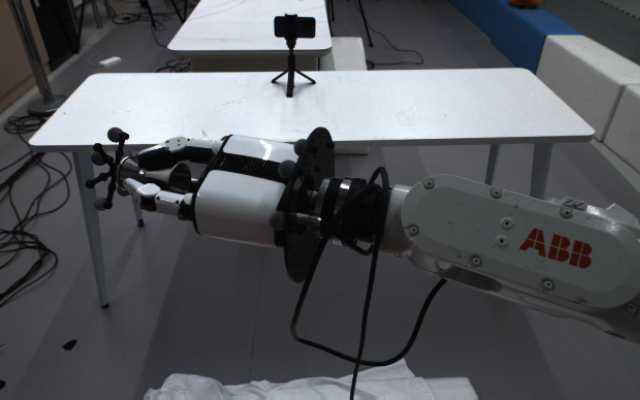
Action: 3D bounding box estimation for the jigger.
[{"bbox_3d":[-0.179,-0.030,0.543,0.071,0.043,0.043,11,36,15],"label":"jigger"}]
